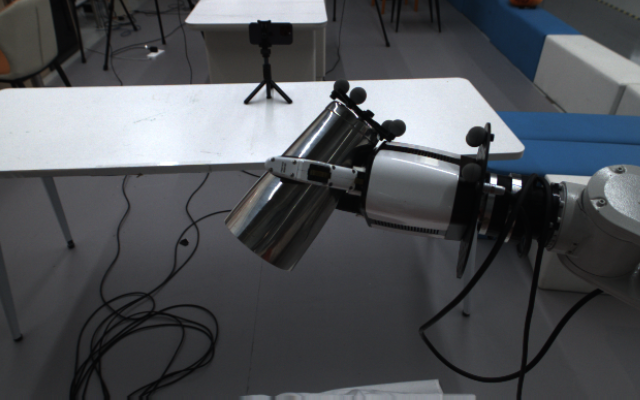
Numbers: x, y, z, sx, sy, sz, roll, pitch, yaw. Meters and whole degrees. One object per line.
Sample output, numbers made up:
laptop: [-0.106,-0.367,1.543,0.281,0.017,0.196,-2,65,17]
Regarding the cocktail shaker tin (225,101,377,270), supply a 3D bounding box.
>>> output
cocktail shaker tin: [-0.012,-0.021,0.521,0.170,0.093,0.093,-50,46,4]
